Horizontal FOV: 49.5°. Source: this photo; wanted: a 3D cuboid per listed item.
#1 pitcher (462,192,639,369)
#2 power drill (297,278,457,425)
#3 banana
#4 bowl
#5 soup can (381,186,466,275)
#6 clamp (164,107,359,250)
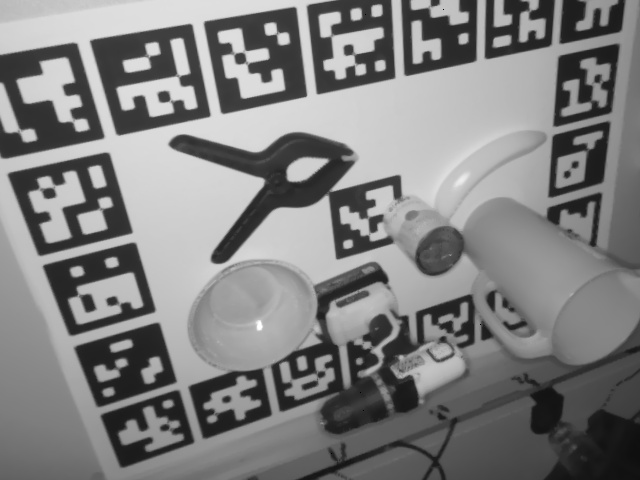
[{"bbox_3d":[0.268,0.042,0.851,0.189,0.242,0.133,-35,125,-1],"label":"pitcher"},{"bbox_3d":[0.043,0.126,0.813,0.186,0.186,0.057,-18,120,-11],"label":"power drill"},{"bbox_3d":[0.227,-0.101,0.888,0.197,0.039,0.074,-36,130,0],"label":"banana"},{"bbox_3d":[-0.093,0.065,0.830,0.163,0.055,0.160,-9,116,-17],"label":"bowl"},{"bbox_3d":[0.125,-0.014,0.852,0.068,0.102,0.067,-12,127,-16],"label":"soup can"},{"bbox_3d":[-0.054,-0.088,0.775,0.204,0.036,0.164,-16,115,-13],"label":"clamp"}]
